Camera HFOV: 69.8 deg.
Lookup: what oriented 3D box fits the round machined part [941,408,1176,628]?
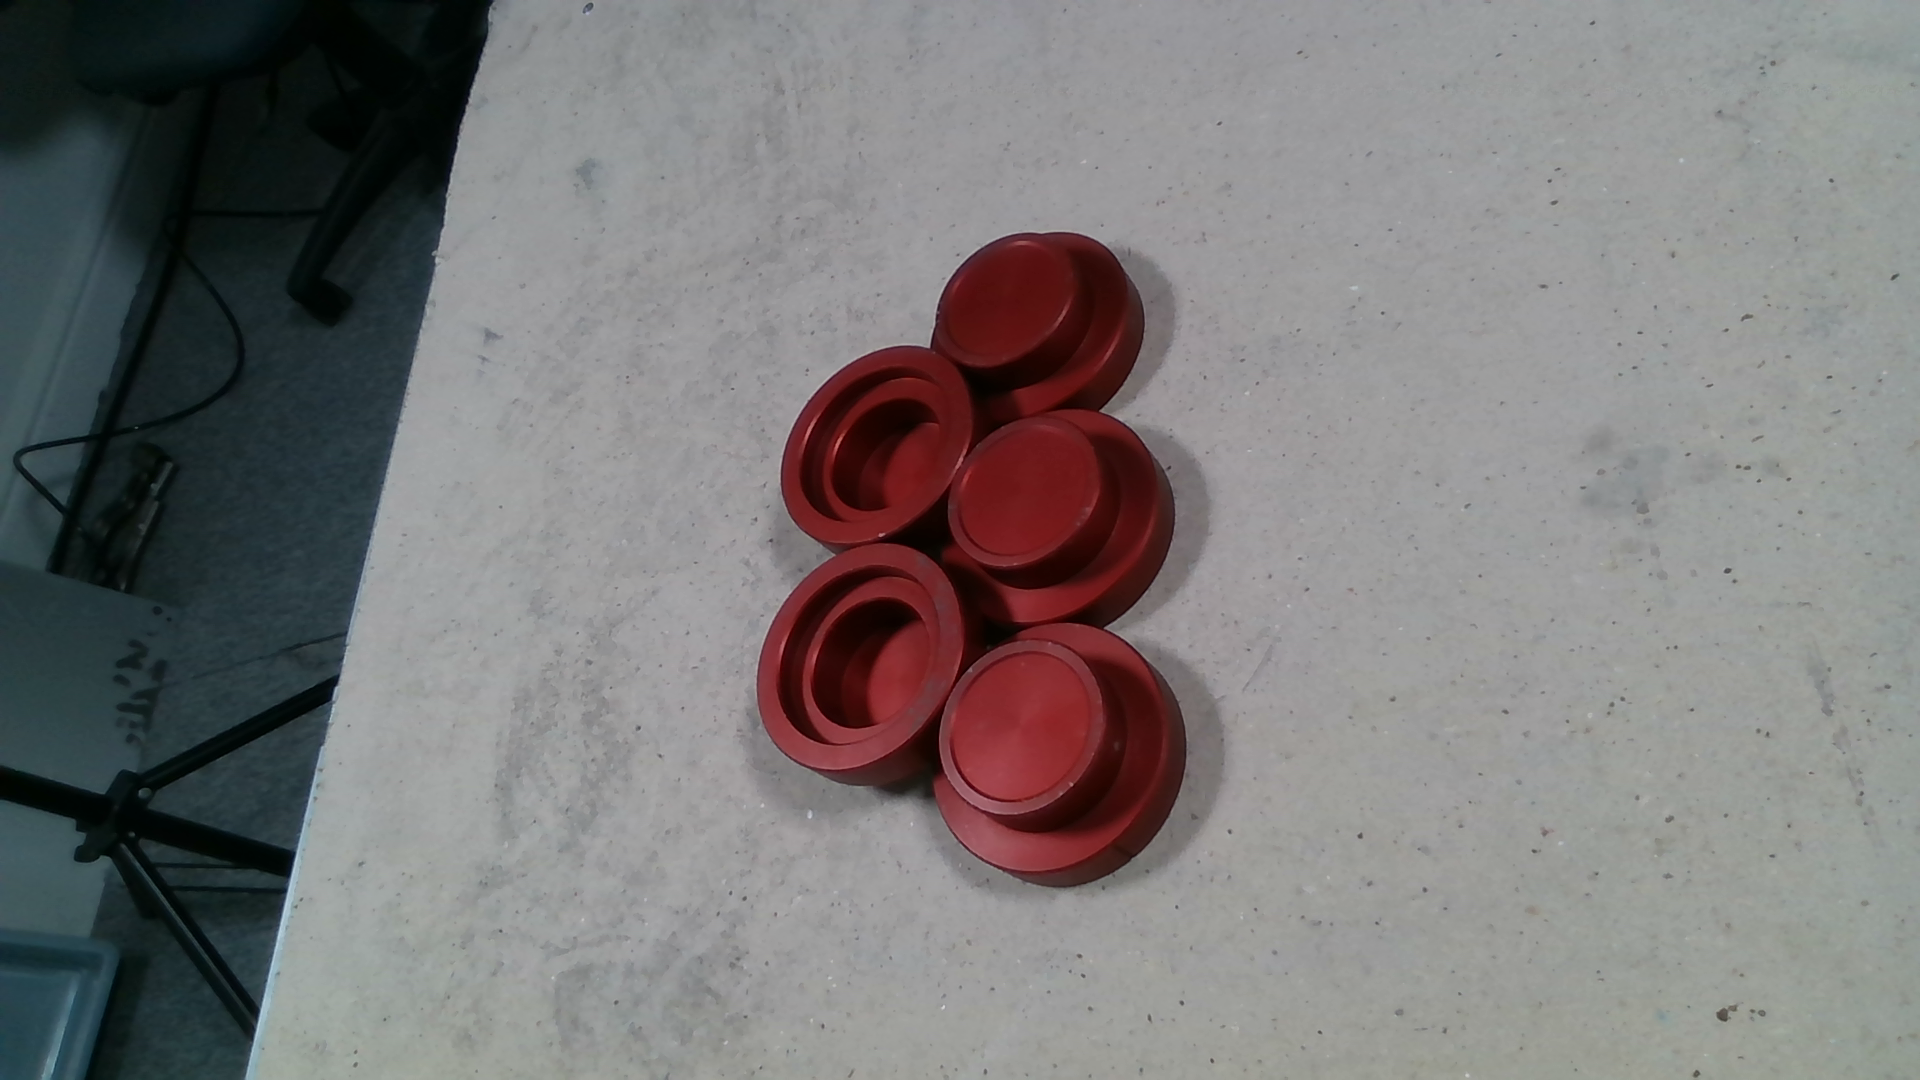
[{"bbox_3d":[0.034,-0.011,0.560,0.098,0.042,0.098,-14,59,25],"label":"round machined part"}]

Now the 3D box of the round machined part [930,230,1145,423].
[{"bbox_3d":[0.028,-0.096,0.608,0.098,0.042,0.098,-14,59,25],"label":"round machined part"}]

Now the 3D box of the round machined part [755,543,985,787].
[{"bbox_3d":[-0.033,0.054,0.566,0.098,0.042,0.098,-14,59,25],"label":"round machined part"}]

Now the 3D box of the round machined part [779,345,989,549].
[{"bbox_3d":[-0.028,-0.034,0.610,0.098,0.042,0.098,-14,59,25],"label":"round machined part"}]

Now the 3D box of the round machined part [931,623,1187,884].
[{"bbox_3d":[0.031,0.076,0.515,0.098,0.042,0.098,-14,59,25],"label":"round machined part"}]
